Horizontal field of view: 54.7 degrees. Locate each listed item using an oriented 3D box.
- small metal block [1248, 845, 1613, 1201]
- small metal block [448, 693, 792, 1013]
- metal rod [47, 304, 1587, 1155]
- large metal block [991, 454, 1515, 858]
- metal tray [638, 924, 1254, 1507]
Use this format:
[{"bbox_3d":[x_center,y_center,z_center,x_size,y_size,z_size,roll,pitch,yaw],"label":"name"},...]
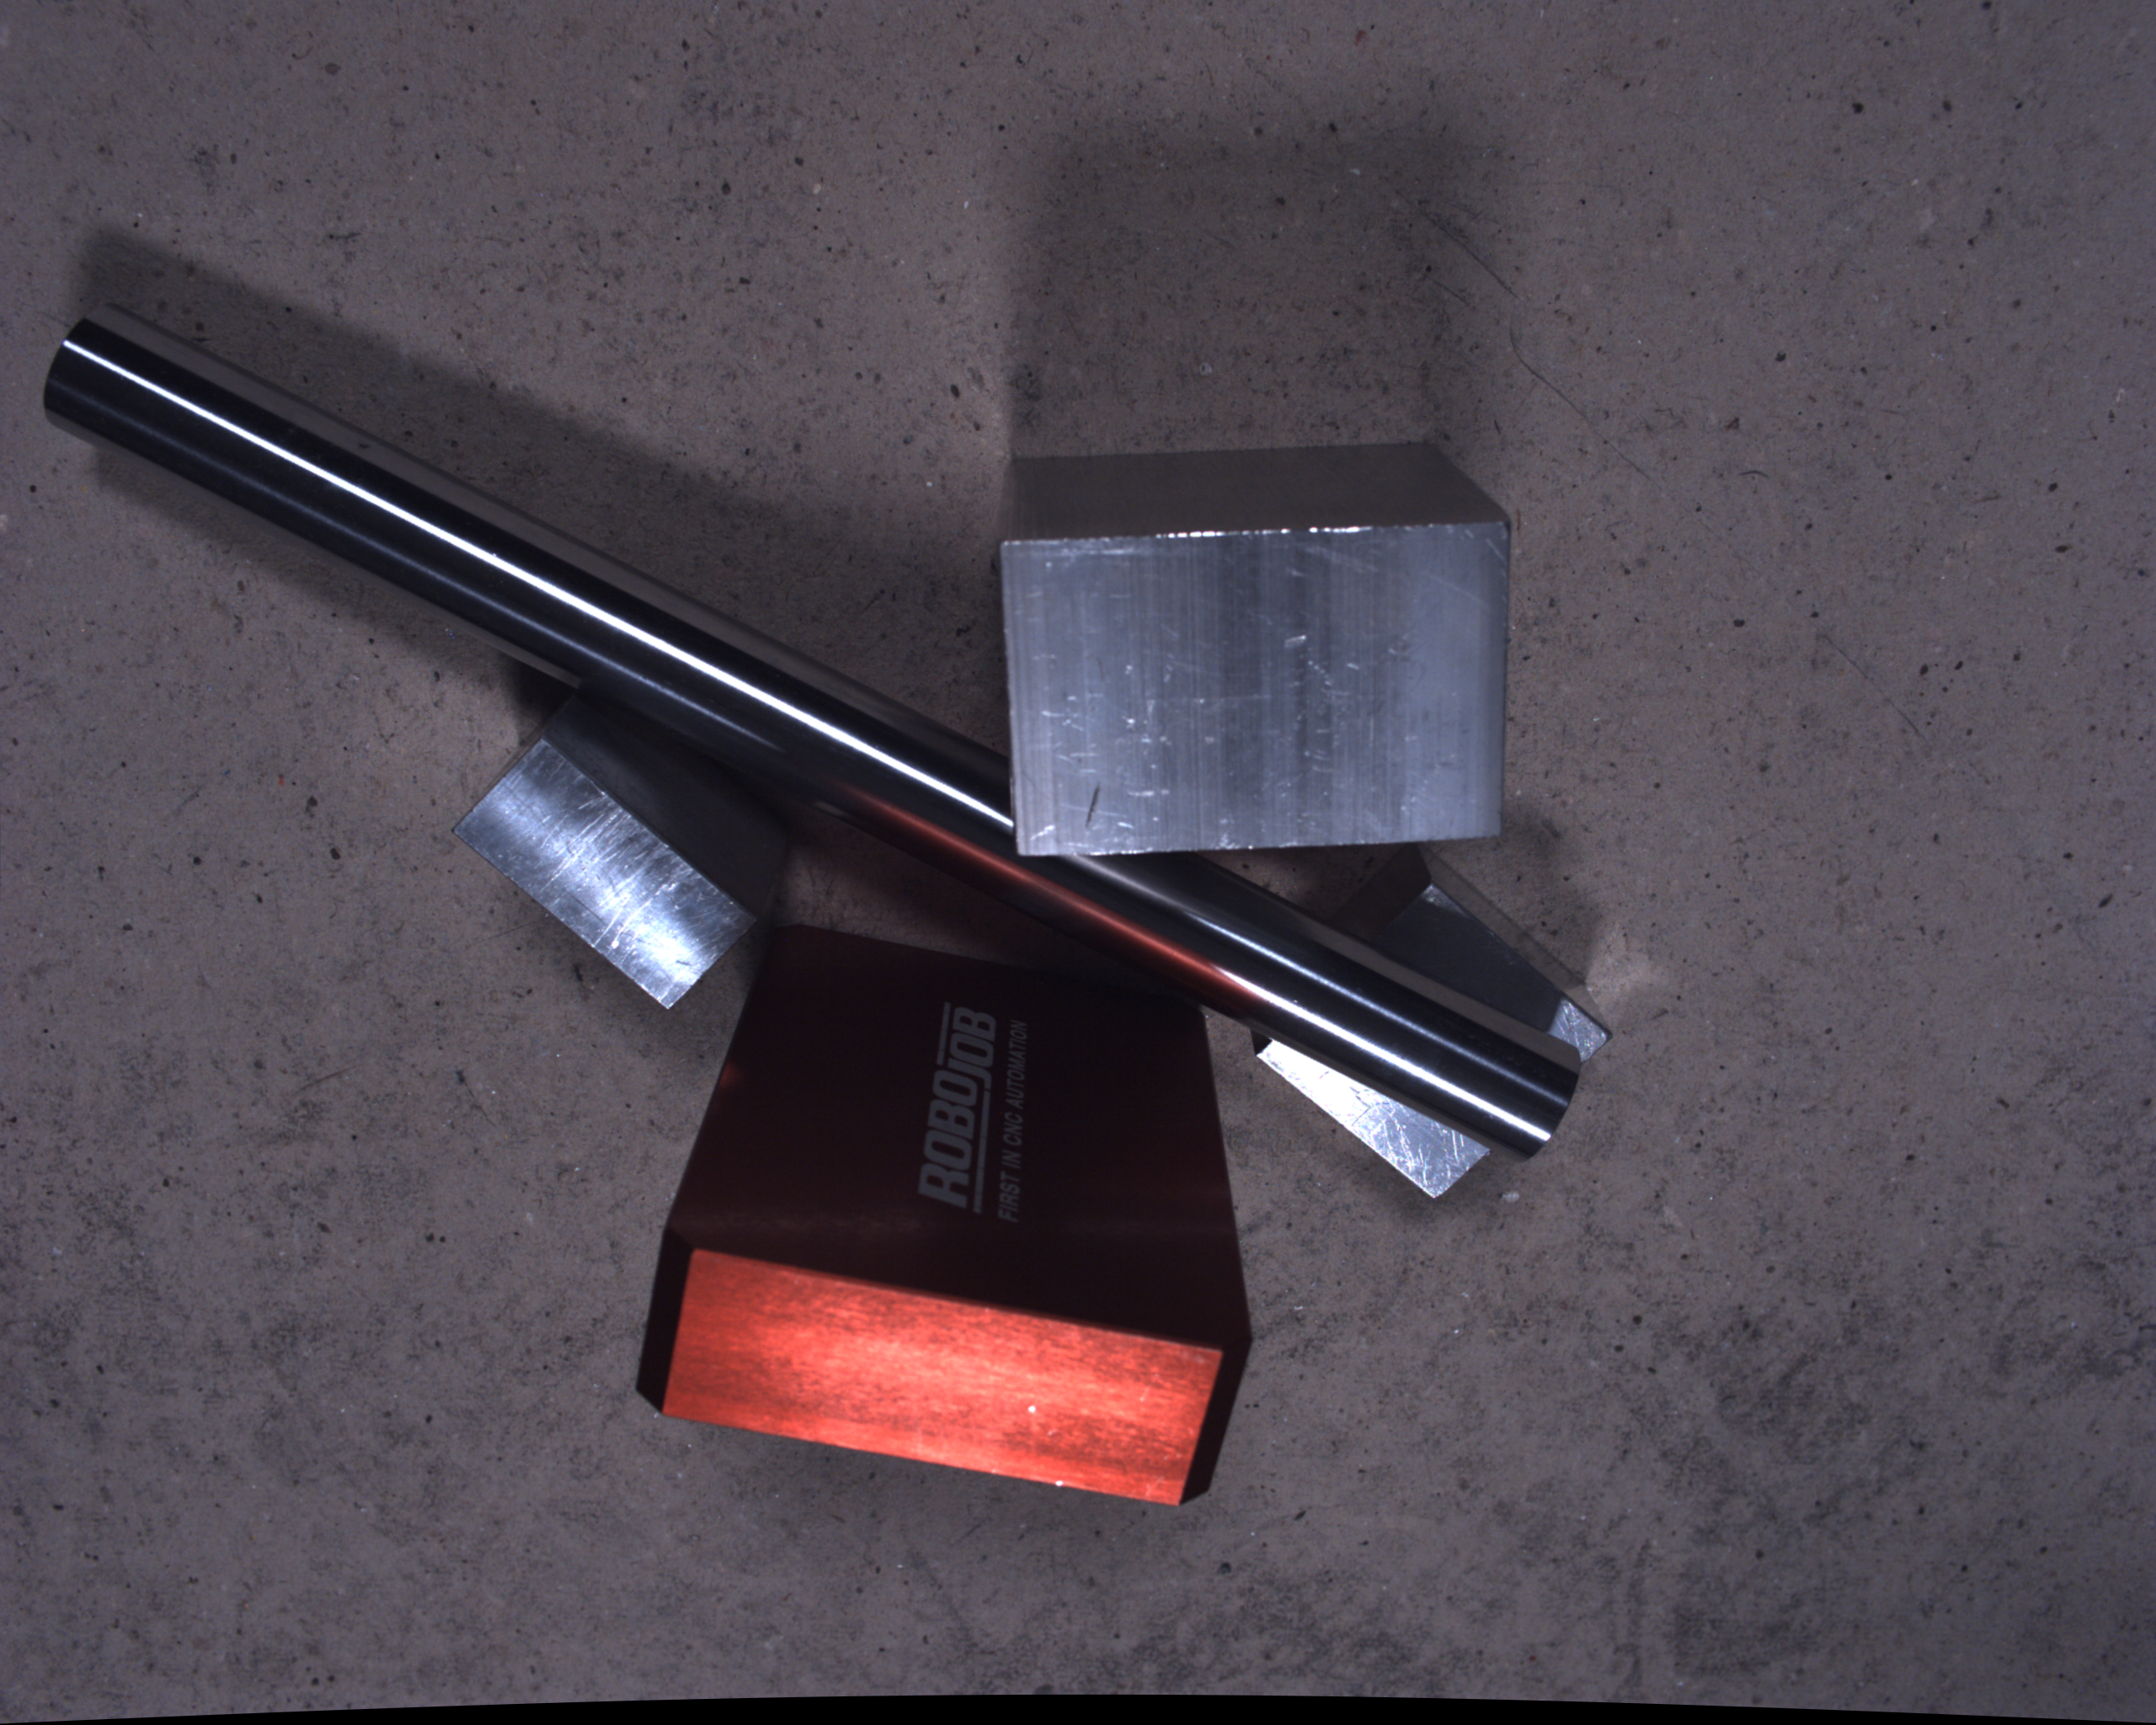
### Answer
[{"bbox_3d":[0.070,0.032,0.424,0.050,0.025,0.050,40,105,-14],"label":"small metal block"},{"bbox_3d":[-0.084,-0.006,0.394,0.050,0.050,0.025,43,104,-14],"label":"small metal block"},{"bbox_3d":[-0.044,-0.022,0.388,0.301,0.025,0.025,27,108,-5],"label":"metal rod"},{"bbox_3d":[0.027,-0.039,0.366,0.081,0.080,0.050,-2,110,0],"label":"large metal block"},{"bbox_3d":[-0.020,0.056,0.376,0.091,0.130,0.030,12,110,-5],"label":"metal tray"}]
